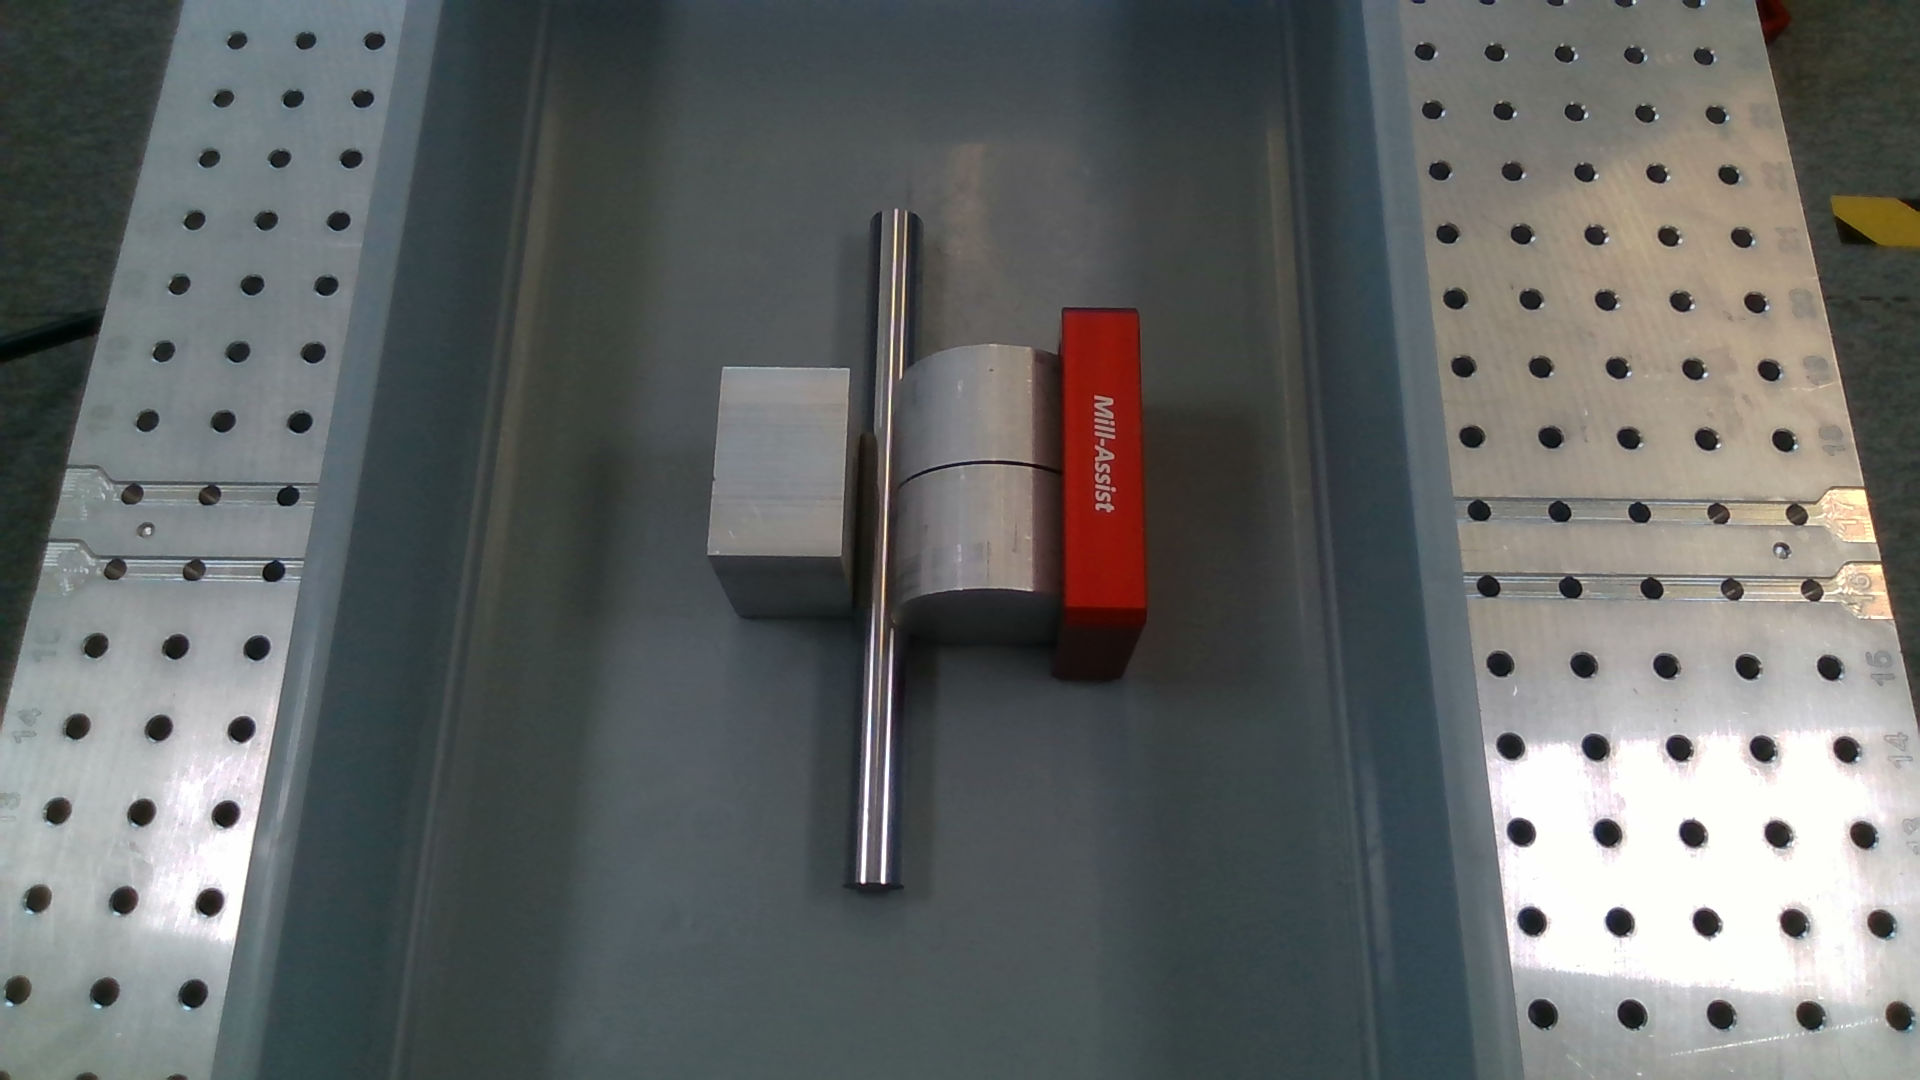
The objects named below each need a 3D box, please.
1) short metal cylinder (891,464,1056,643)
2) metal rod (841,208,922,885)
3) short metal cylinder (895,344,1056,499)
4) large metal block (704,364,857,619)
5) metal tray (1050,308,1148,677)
[{"bbox_3d":[0.013,0.008,0.556,0.080,0.080,0.050,1,70,1],"label":"short metal cylinder"},{"bbox_3d":[-0.032,-0.006,0.589,0.025,0.025,0.299,1,70,0],"label":"metal rod"},{"bbox_3d":[0.014,-0.041,0.573,0.080,0.080,0.050,0,70,0],"label":"short metal cylinder"},{"bbox_3d":[-0.070,-0.018,0.564,0.050,0.080,0.080,1,70,0],"label":"large metal block"},{"bbox_3d":[0.054,-0.017,0.559,0.030,0.090,0.130,1,70,0],"label":"metal tray"}]
